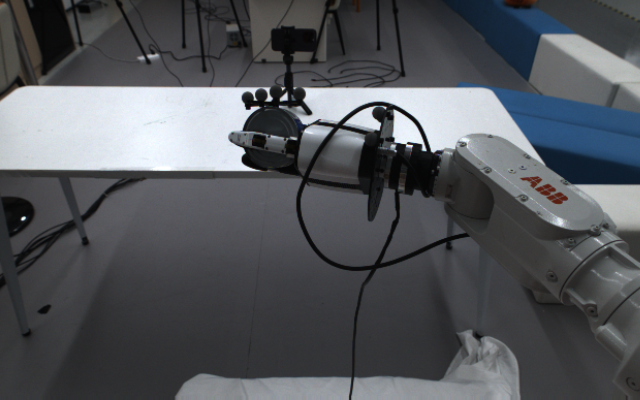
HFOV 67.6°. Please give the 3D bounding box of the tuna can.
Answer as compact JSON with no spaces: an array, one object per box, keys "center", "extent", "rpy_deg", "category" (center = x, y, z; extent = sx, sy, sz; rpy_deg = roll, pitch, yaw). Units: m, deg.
[{"center":[-0.064,-0.088,0.685],"extent":[0.085,0.085,0.034],"rpy_deg":[15,9,18],"category":"tuna can"}]
